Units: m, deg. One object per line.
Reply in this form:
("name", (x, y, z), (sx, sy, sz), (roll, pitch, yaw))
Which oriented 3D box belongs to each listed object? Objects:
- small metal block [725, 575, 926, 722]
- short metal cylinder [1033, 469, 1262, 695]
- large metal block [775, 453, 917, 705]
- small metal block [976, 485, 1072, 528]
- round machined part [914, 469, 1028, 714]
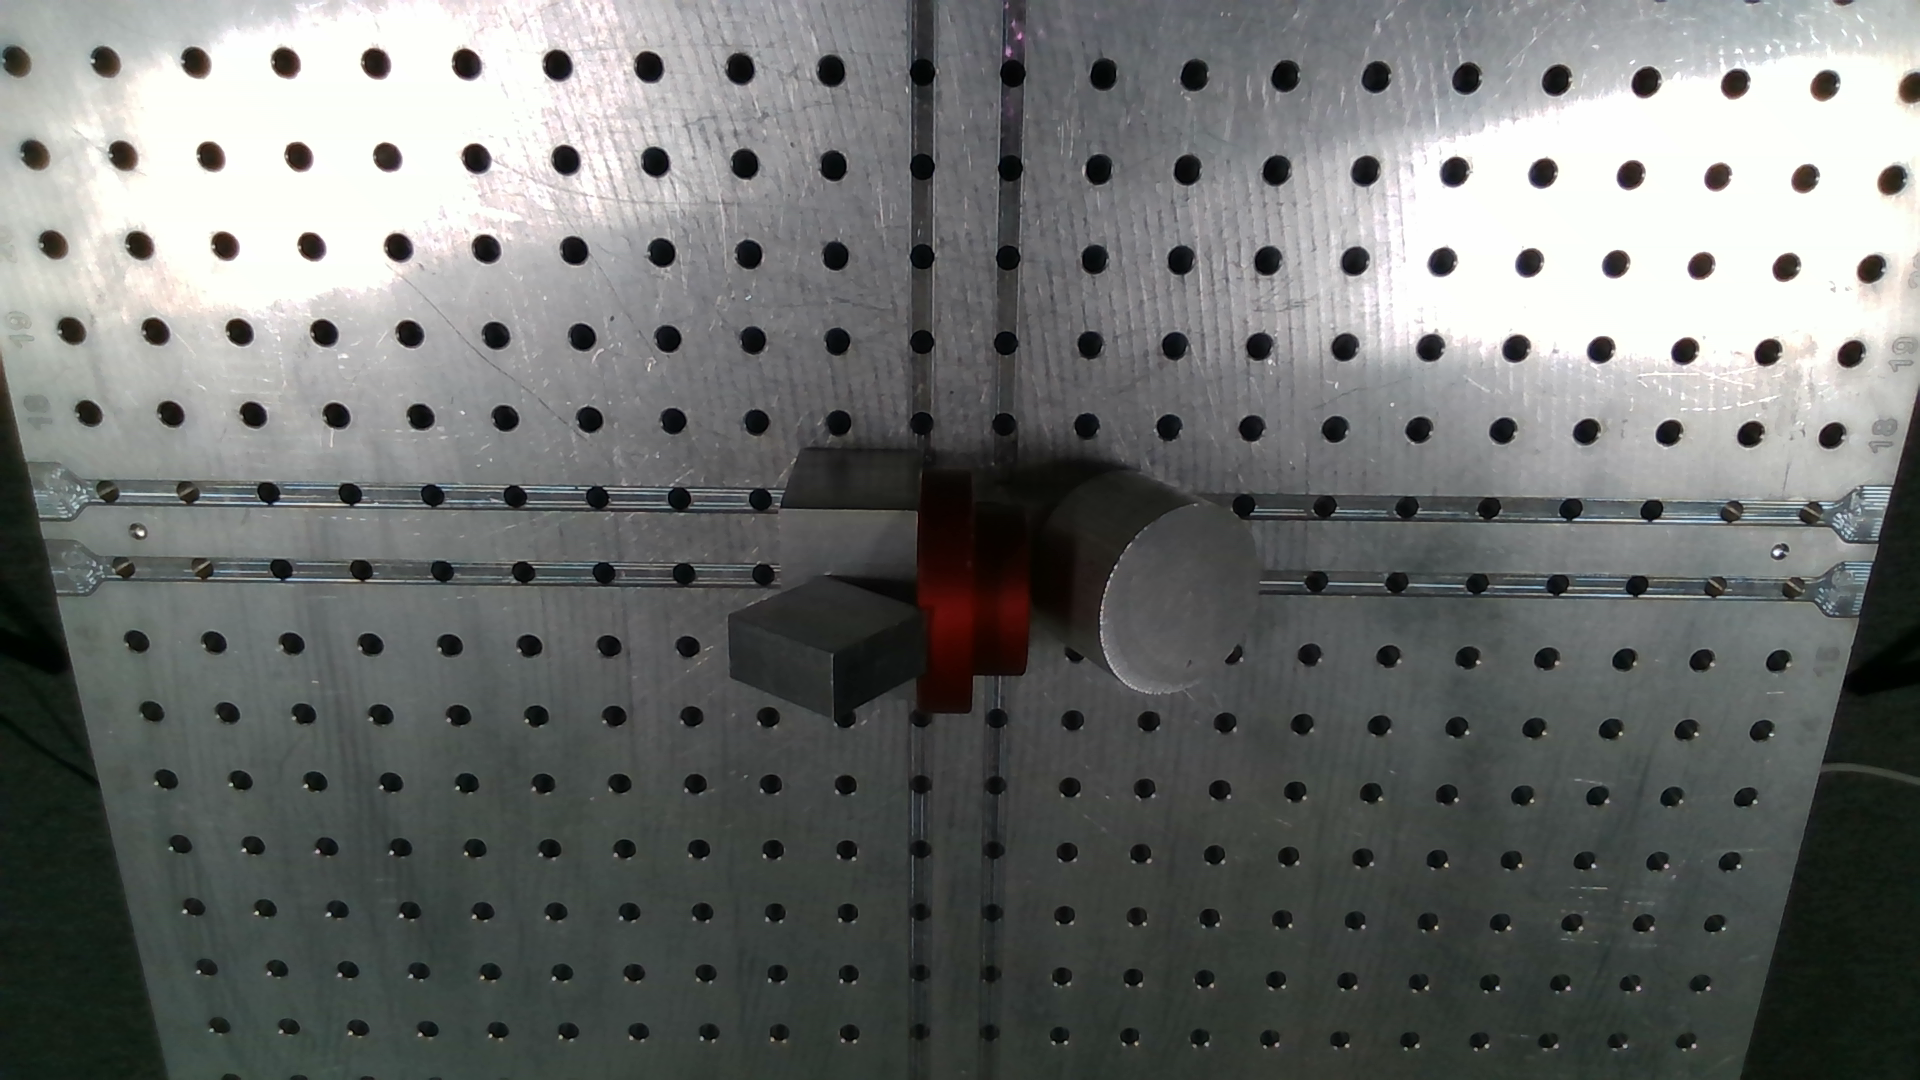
("small metal block", (-0.048, 0.037, 0.491), (0.050, 0.050, 0.025), (16, 115, 35))
("short metal cylinder", (0.076, 0.016, 0.562), (0.080, 0.050, 0.080), (-12, 114, -28))
("large metal block", (-0.044, 0.013, 0.562), (0.050, 0.080, 0.080), (1, 110, 0))
("small metal block", (0.029, 0.004, 0.588), (0.050, 0.025, 0.050), (1, 110, 0))
("round machined part", (0.004, 0.020, 0.545), (0.042, 0.098, 0.098), (1, 110, 0))
